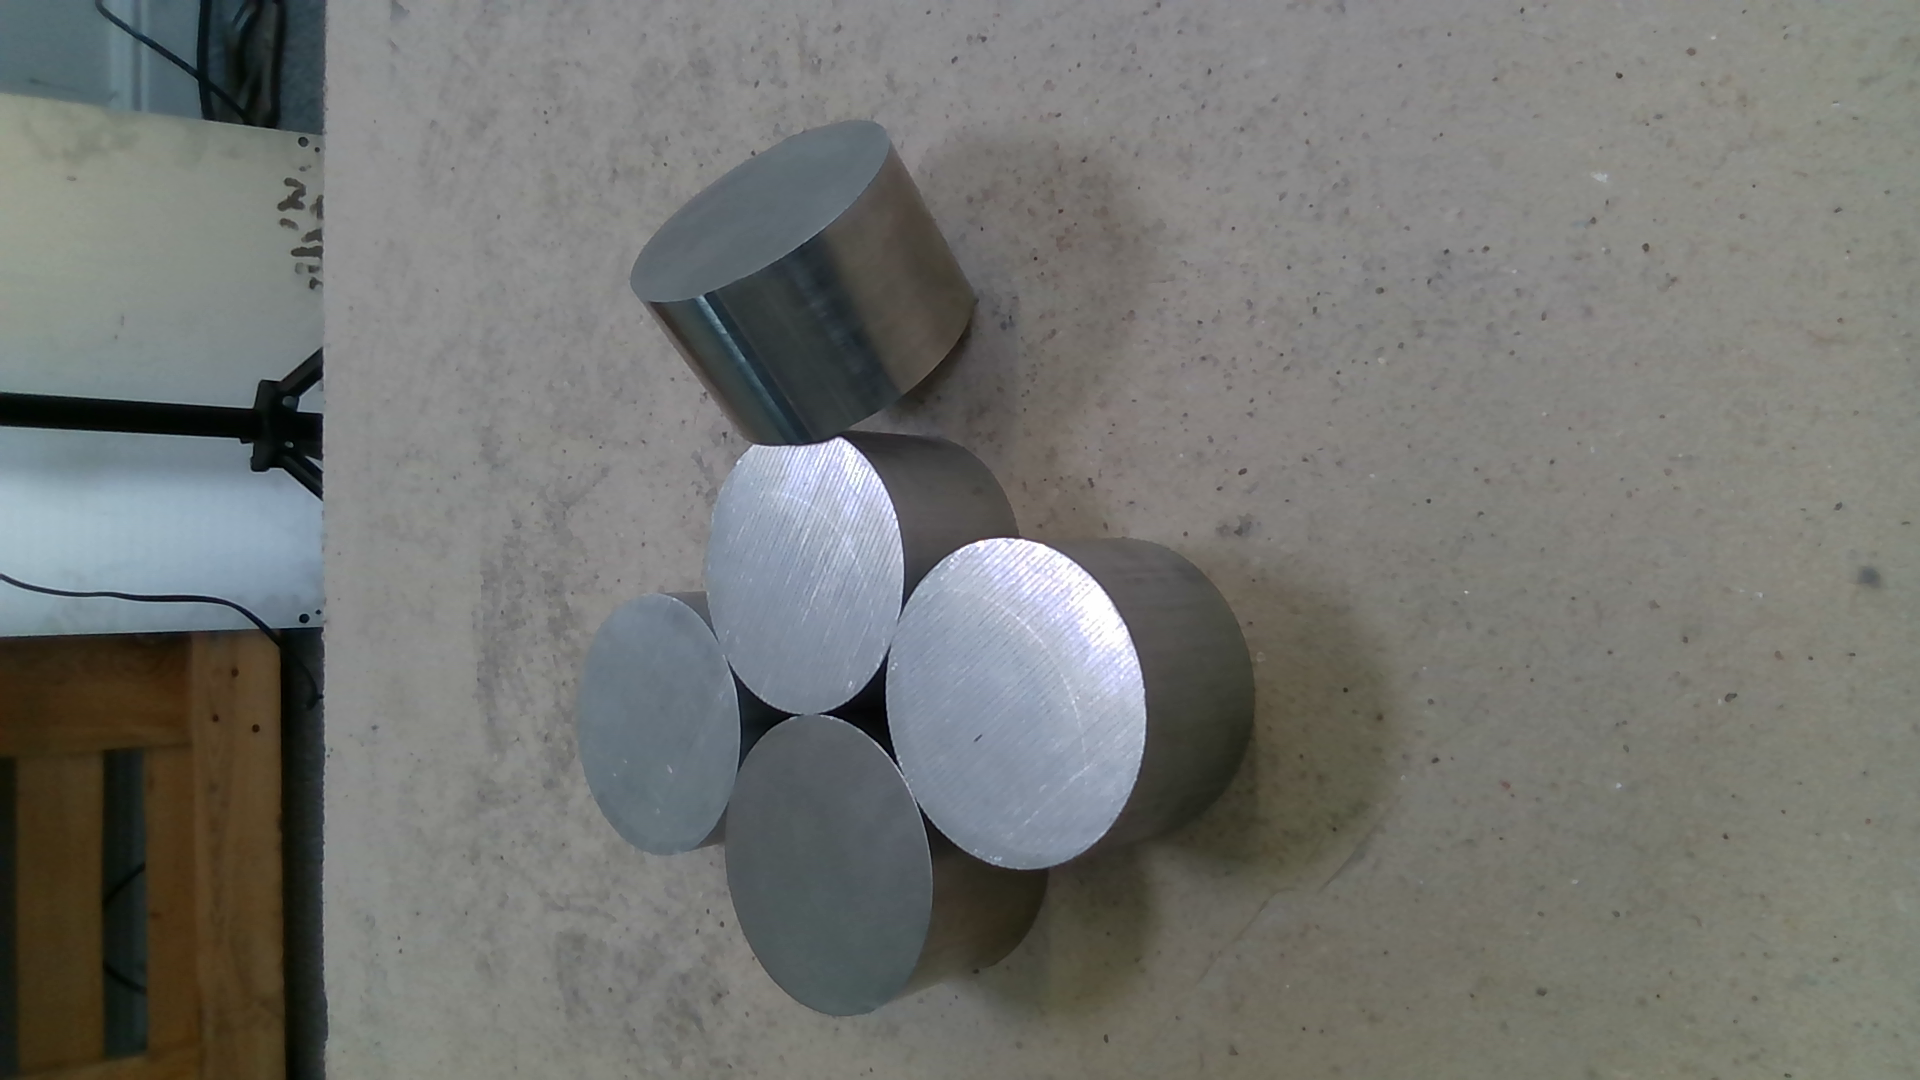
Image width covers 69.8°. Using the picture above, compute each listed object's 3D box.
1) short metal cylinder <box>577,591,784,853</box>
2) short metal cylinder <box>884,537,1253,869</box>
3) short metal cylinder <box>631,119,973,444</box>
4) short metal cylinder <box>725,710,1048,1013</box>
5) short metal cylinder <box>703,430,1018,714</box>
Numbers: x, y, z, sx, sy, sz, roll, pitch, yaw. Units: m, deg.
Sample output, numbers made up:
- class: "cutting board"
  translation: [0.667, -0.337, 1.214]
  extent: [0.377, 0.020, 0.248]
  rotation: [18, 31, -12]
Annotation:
- class: "short metal cylinder"
  translation: [-0.078, 0.056, 0.441]
  extent: [0.080, 0.050, 0.080]
  rotation: [0, 91, 40]
- class: "short metal cylinder"
  translation: [0.027, 0.039, 0.352]
  extent: [0.080, 0.050, 0.080]
  rotation: [0, 91, 40]
- class: "short metal cylinder"
  translation: [-0.043, -0.072, 0.384]
  extent: [0.080, 0.050, 0.080]
  rotation: [-21, 36, 16]
- class: "short metal cylinder"
  translation: [-0.022, 0.088, 0.394]
  extent: [0.080, 0.050, 0.080]
  rotation: [0, 91, 40]
- class: "short metal cylinder"
  translation: [-0.029, 0.008, 0.399]
  extent: [0.080, 0.050, 0.080]
  rotation: [0, 91, 40]
